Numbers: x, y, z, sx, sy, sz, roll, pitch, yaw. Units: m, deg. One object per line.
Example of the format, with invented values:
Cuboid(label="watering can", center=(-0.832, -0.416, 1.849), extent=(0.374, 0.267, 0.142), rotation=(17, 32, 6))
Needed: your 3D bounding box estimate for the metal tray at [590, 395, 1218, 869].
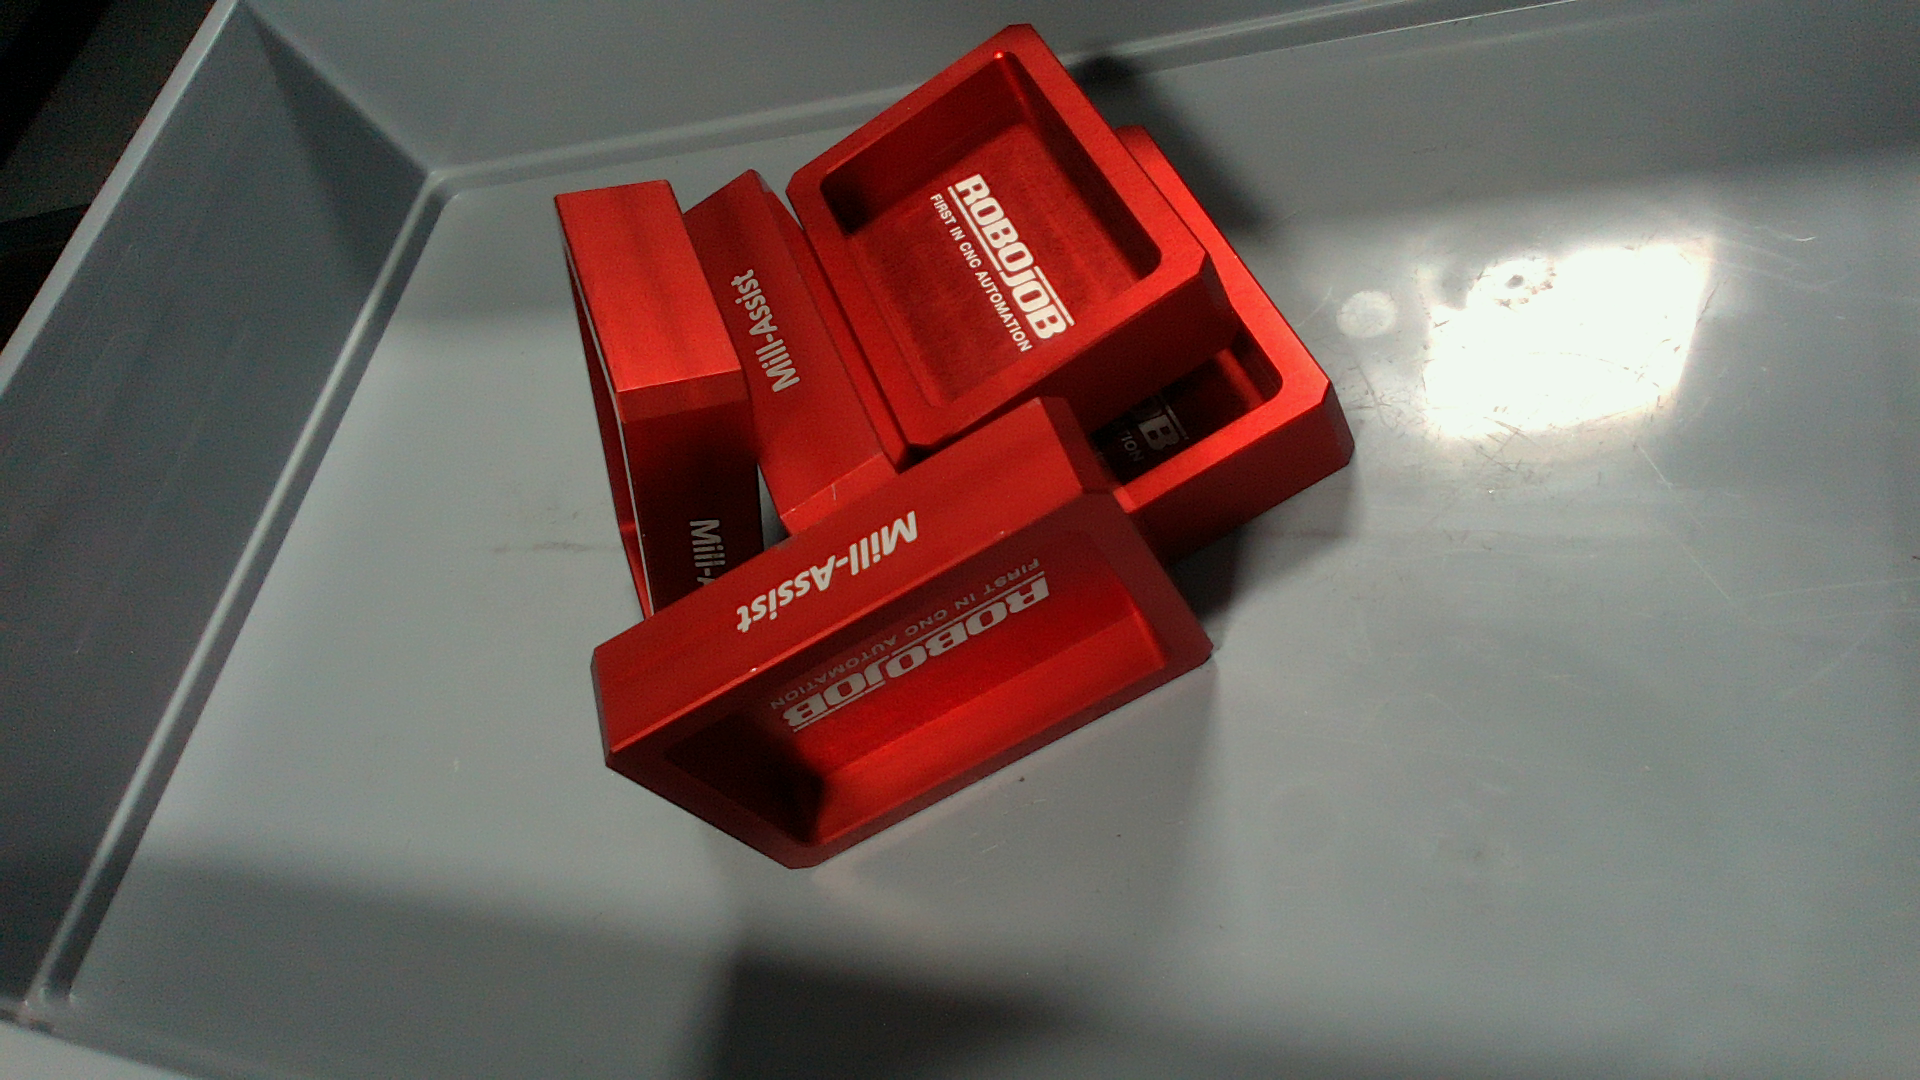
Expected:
Cuboid(label="metal tray", center=(-0.011, 0.028, 0.339), extent=(0.130, 0.090, 0.030), rotation=(-29, 52, 10))

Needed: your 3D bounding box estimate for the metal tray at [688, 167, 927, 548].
Cuboid(label="metal tray", center=(-0.032, -0.034, 0.387), extent=(0.030, 0.090, 0.130), rotation=(-32, 51, 8))

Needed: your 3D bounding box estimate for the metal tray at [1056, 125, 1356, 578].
Cuboid(label="metal tray", center=(0.043, -0.054, 0.400), extent=(0.090, 0.030, 0.130), rotation=(-31, 50, 10))

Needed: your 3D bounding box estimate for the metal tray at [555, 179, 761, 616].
Cuboid(label="metal tray", center=(-0.081, -0.020, 0.382), extent=(0.030, 0.130, 0.090), rotation=(-13, 49, -16))

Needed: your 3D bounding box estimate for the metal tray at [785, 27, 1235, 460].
Cuboid(label="metal tray", center=(0.009, -0.083, 0.396), extent=(0.090, 0.030, 0.130), rotation=(-32, 51, 8))
